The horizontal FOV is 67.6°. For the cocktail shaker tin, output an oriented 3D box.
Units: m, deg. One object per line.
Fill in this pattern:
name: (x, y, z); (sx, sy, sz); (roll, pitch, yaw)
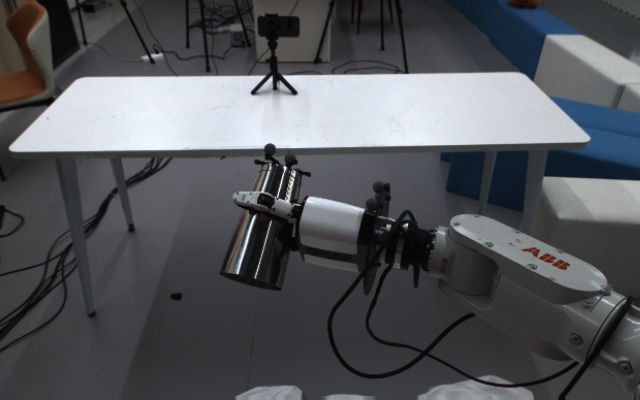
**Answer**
cocktail shaker tin: (-0.078, 0.037, 0.705); (0.093, 0.093, 0.170); (10, 71, 12)
